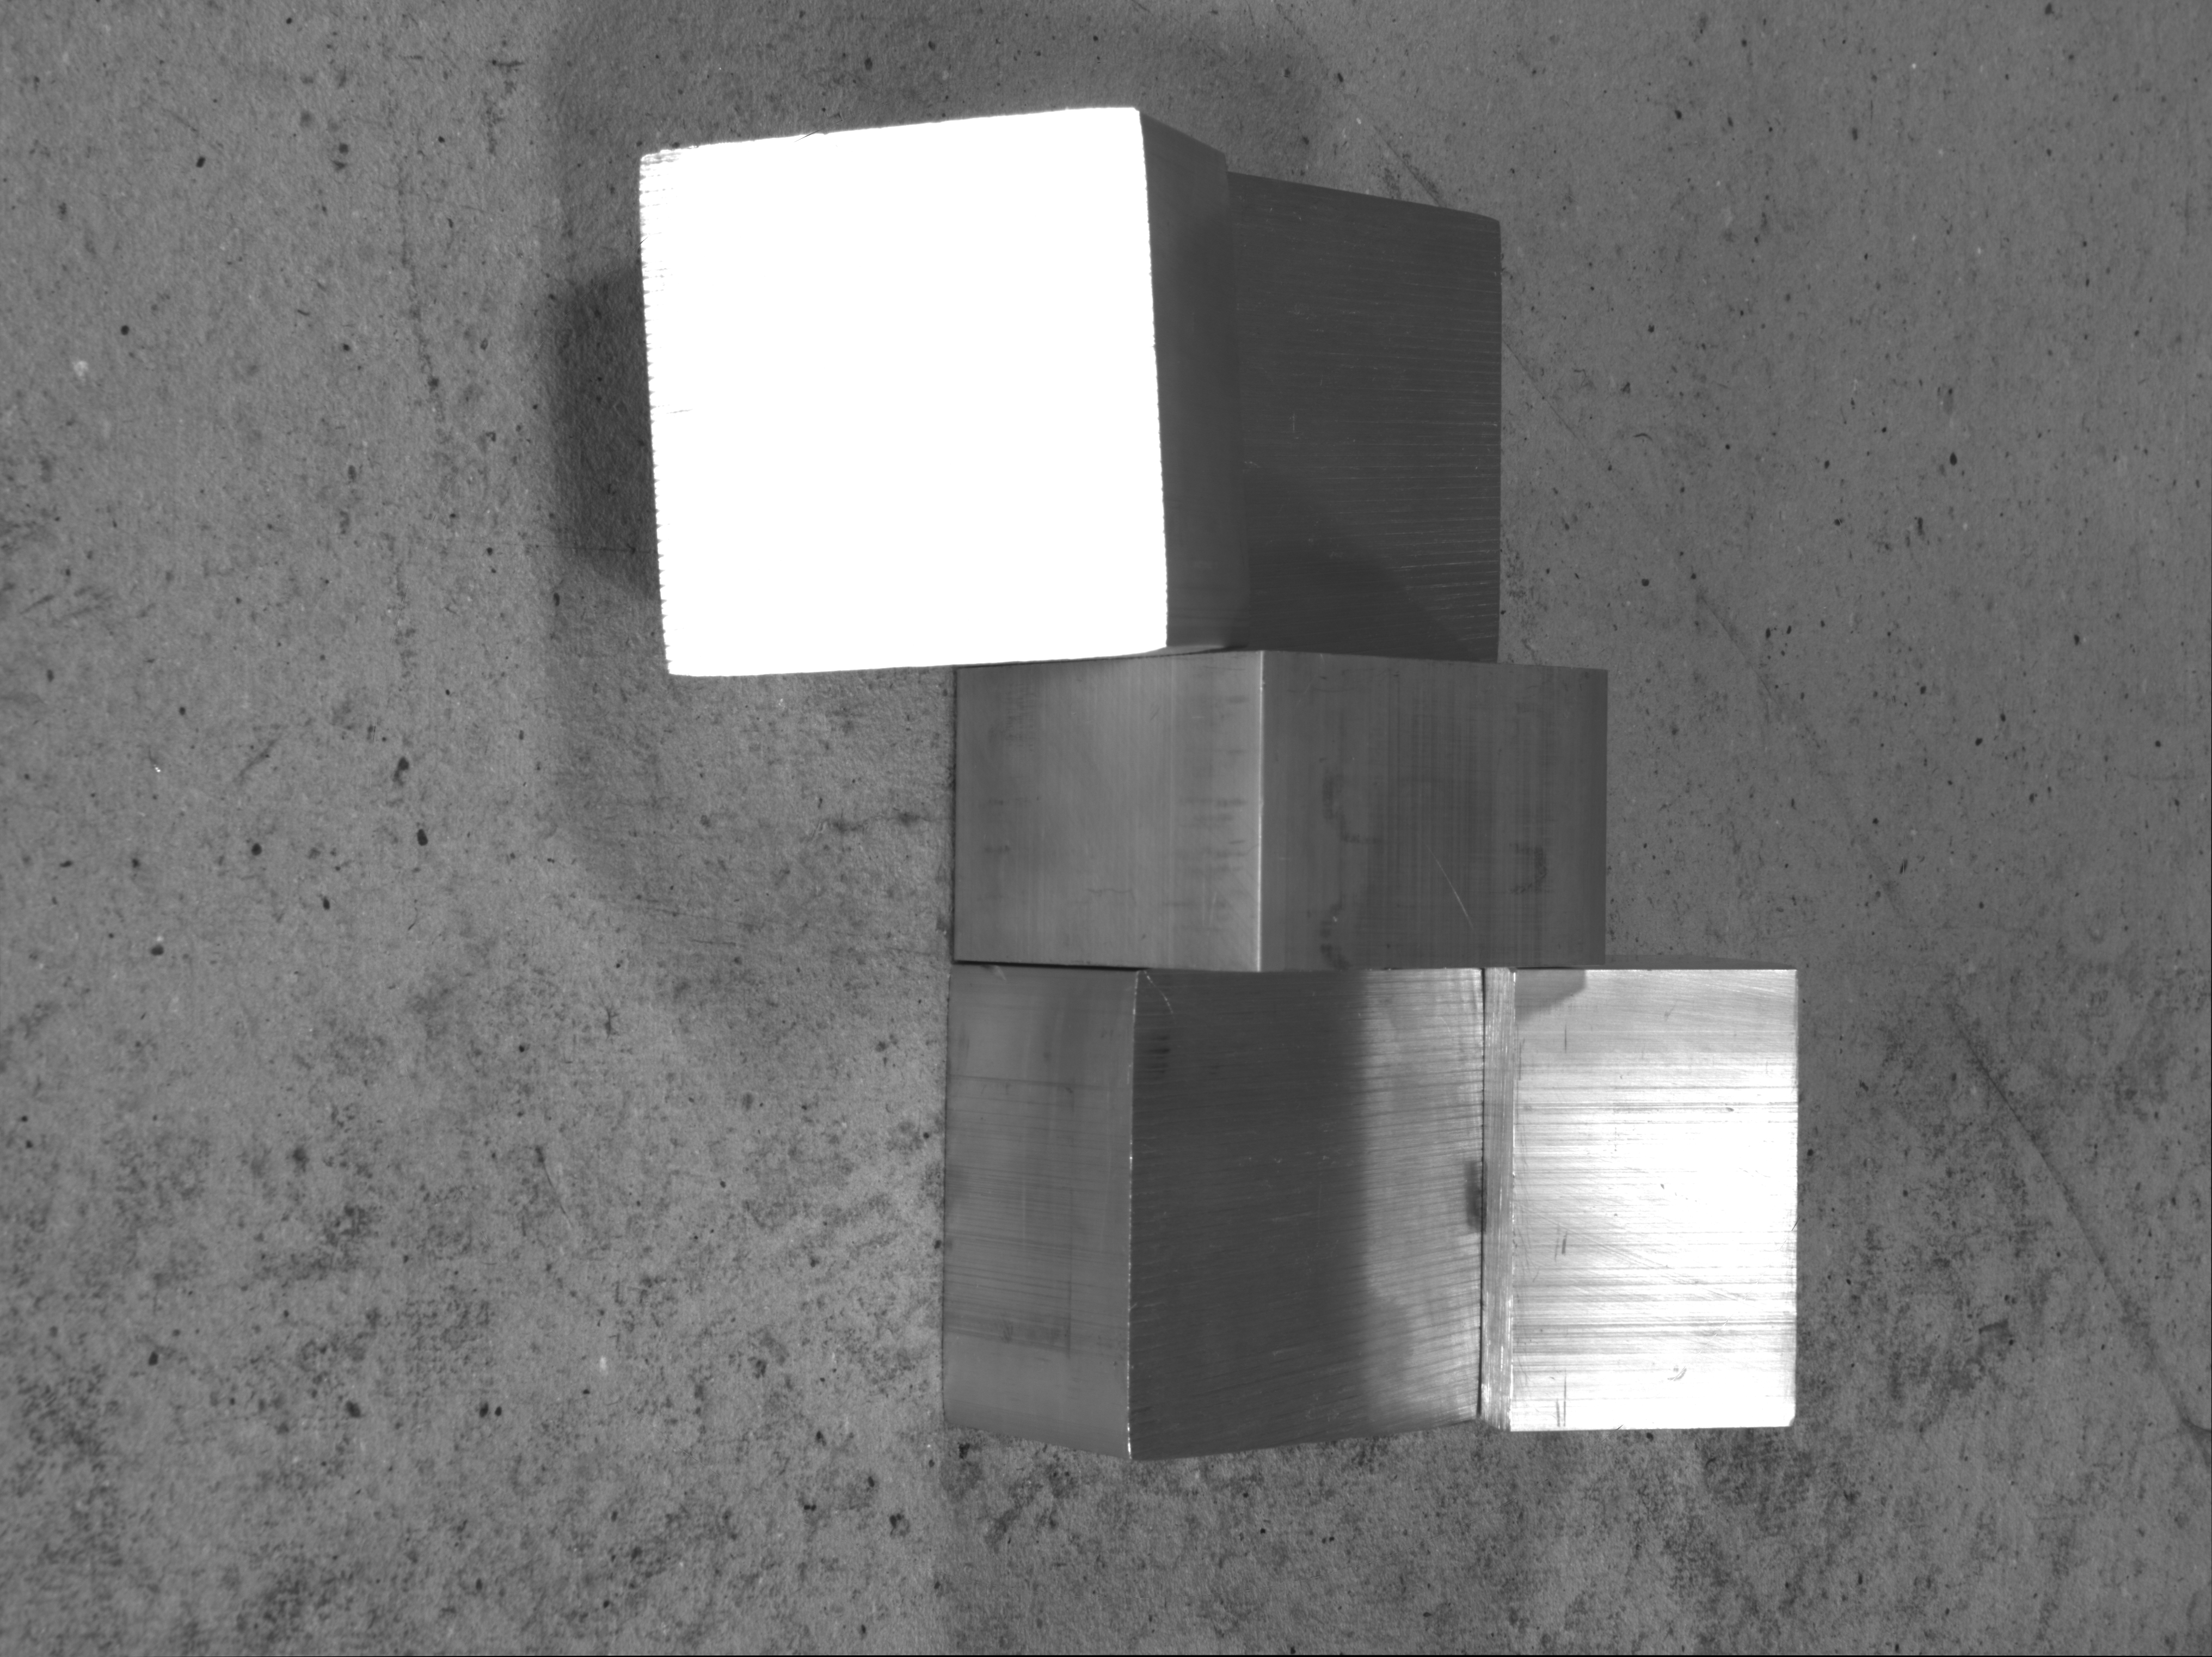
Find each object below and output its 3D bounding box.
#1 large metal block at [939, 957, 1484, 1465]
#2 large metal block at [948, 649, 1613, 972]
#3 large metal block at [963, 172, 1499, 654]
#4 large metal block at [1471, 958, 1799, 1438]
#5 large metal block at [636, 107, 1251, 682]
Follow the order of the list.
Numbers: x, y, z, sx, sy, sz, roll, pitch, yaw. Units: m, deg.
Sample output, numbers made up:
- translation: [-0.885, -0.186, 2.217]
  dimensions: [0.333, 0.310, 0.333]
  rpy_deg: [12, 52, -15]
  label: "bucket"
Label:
- translation: [0.019, 0.063, 0.635]
  dimensions: [0.080, 0.050, 0.080]
  rpy_deg: [1, 90, -39]
  label: "large metal block"
- translation: [0.029, -0.002, 0.625]
  dimensions: [0.080, 0.080, 0.050]
  rpy_deg: [1, 89, -40]
  label: "large metal block"
- translation: [0.022, -0.067, 0.636]
  dimensions: [0.080, 0.050, 0.080]
  rpy_deg: [1, 89, -39]
  label: "large metal block"
- translation: [0.089, 0.064, 0.664]
  dimensions: [0.050, 0.080, 0.080]
  rpy_deg: [0, 90, -8]
  label: "large metal block"
- translation: [-0.024, -0.065, 0.571]
  dimensions: [0.050, 0.080, 0.080]
  rpy_deg: [-10, 97, -74]
  label: "large metal block"
